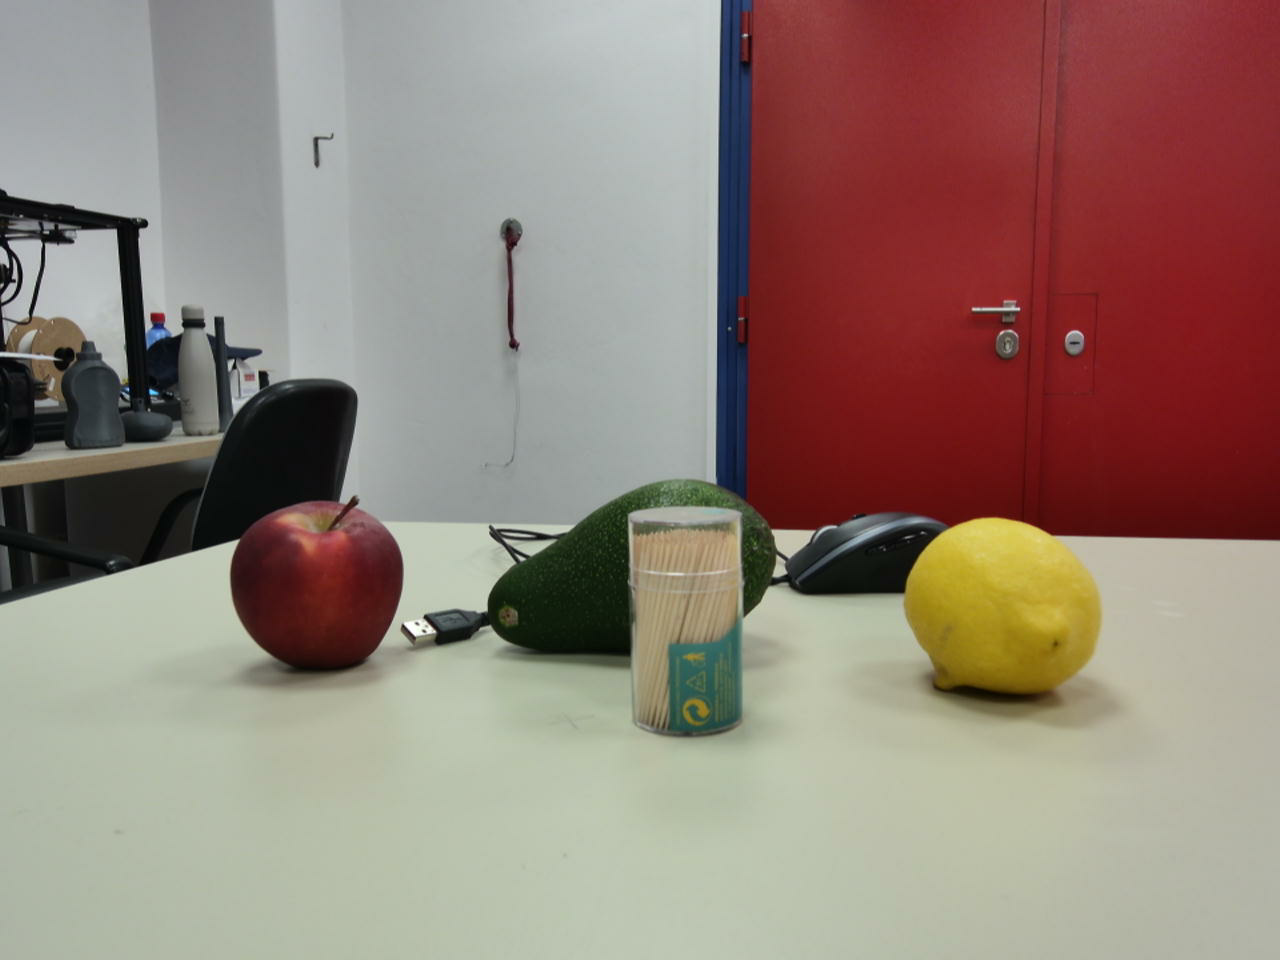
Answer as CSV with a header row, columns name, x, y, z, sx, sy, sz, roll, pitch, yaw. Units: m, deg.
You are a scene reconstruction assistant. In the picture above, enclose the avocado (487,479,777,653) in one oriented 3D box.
name,x,y,z,sx,sy,sz,roll,pitch,yaw
avocado,0.000,0.037,0.448,0.123,0.076,0.074,1,4,18
